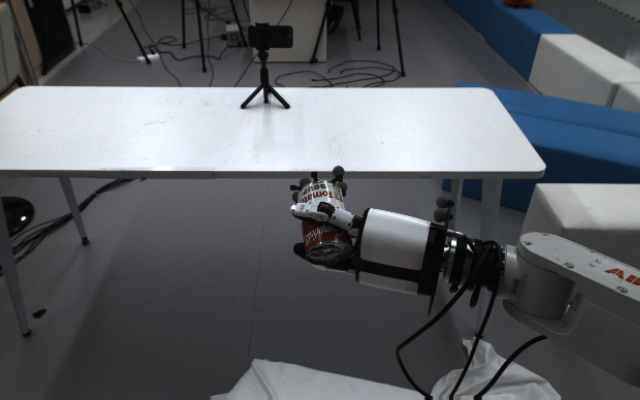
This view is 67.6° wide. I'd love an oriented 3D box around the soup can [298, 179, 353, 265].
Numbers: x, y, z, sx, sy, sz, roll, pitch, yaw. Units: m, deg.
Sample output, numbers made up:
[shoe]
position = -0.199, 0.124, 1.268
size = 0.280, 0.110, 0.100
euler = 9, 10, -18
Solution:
[soup can]
position = 0.008, 0.032, 0.685
size = 0.067, 0.067, 0.101
euler = -5, 57, -10
